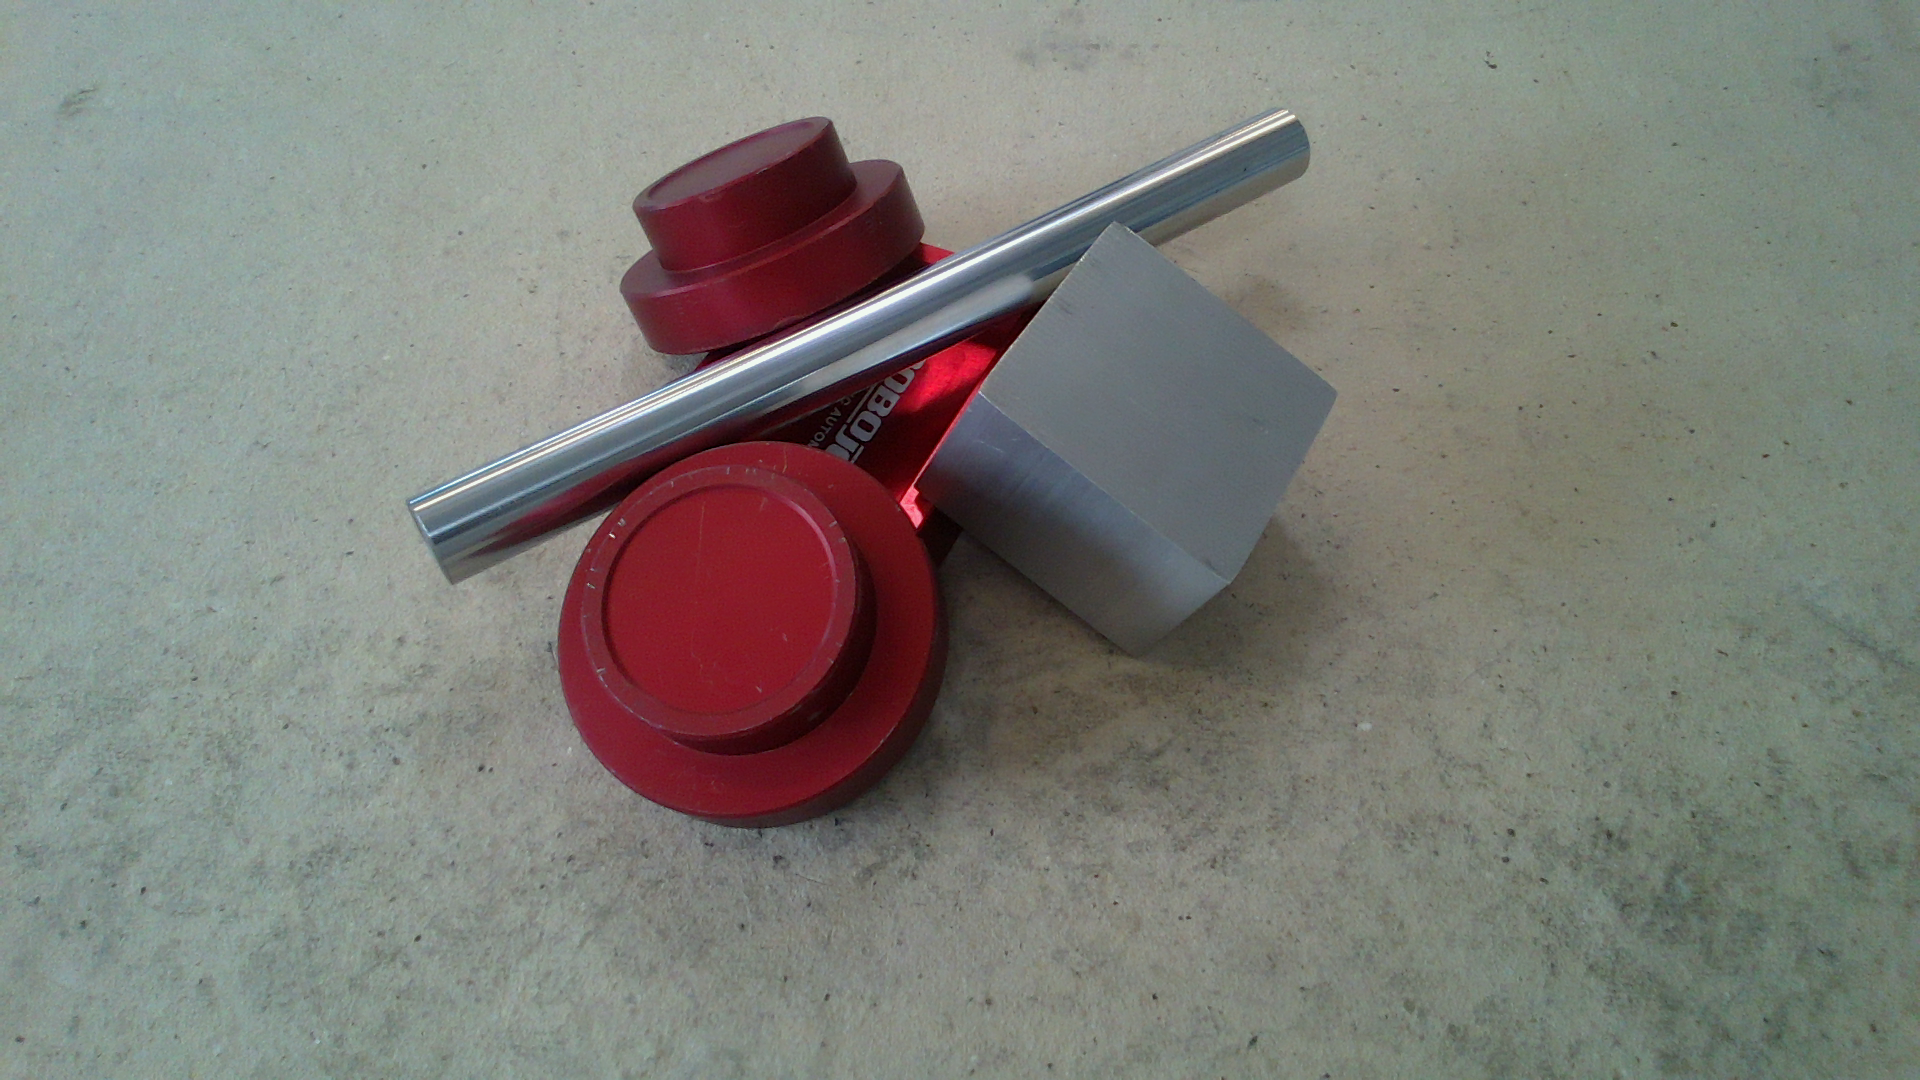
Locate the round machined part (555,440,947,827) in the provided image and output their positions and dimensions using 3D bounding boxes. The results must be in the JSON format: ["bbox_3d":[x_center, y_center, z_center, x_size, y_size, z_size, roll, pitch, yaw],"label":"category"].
[{"bbox_3d":[-0.054,0.020,0.341,0.098,0.042,0.098,-2,70,7],"label":"round machined part"}]

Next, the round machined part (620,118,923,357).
[{"bbox_3d":[-0.064,-0.101,0.439,0.098,0.042,0.098,-18,27,10],"label":"round machined part"}]

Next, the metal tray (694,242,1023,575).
[{"bbox_3d":[-0.032,-0.041,0.423,0.090,0.030,0.130,19,53,16],"label":"metal tray"}]

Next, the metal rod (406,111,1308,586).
[{"bbox_3d":[-0.014,-0.066,0.409,0.301,0.025,0.025,-29,55,-22],"label":"metal rod"}]

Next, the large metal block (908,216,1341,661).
[{"bbox_3d":[0.046,-0.028,0.381,0.080,0.050,0.080,37,55,-1],"label":"large metal block"}]
